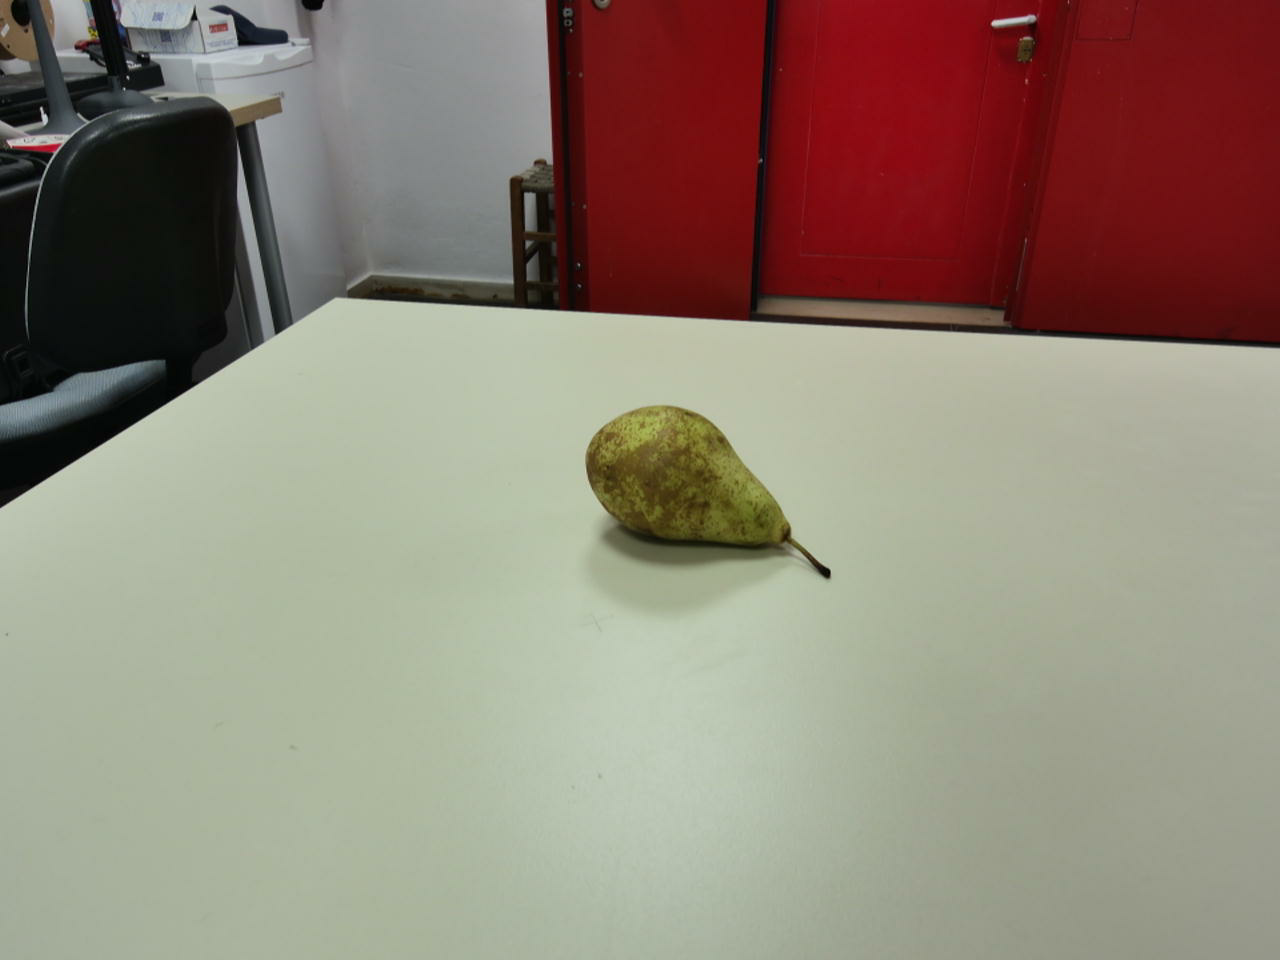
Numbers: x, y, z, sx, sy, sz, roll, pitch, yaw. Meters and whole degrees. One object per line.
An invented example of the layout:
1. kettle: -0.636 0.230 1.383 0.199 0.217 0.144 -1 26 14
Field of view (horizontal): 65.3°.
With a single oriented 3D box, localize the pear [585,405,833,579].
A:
1. pear: 0.035 -0.001 0.530 0.128 0.075 0.071 2 25 4
